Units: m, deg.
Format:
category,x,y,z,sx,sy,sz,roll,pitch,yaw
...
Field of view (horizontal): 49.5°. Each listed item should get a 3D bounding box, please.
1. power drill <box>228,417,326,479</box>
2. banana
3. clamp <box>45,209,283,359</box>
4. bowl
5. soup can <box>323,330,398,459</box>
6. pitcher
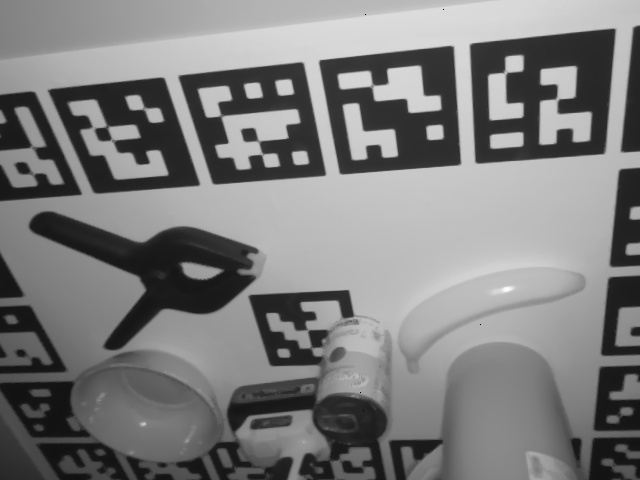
category,x,y,z,sx,sy,sz,roll,pitch,yaw
power drill,-0.072,0.265,0.683,0.183,0.189,0.057,-5,123,11
banana,0.162,0.083,0.651,0.195,0.039,0.074,-24,126,22
clamp,-0.135,0.040,0.644,0.202,0.037,0.164,-4,119,9
bowl,-0.176,0.173,0.735,0.161,0.056,0.160,2,123,5
soup can,0.041,0.147,0.666,0.068,0.103,0.067,3,132,4
pitcher,0.159,0.235,0.625,0.187,0.245,0.133,-23,121,21
